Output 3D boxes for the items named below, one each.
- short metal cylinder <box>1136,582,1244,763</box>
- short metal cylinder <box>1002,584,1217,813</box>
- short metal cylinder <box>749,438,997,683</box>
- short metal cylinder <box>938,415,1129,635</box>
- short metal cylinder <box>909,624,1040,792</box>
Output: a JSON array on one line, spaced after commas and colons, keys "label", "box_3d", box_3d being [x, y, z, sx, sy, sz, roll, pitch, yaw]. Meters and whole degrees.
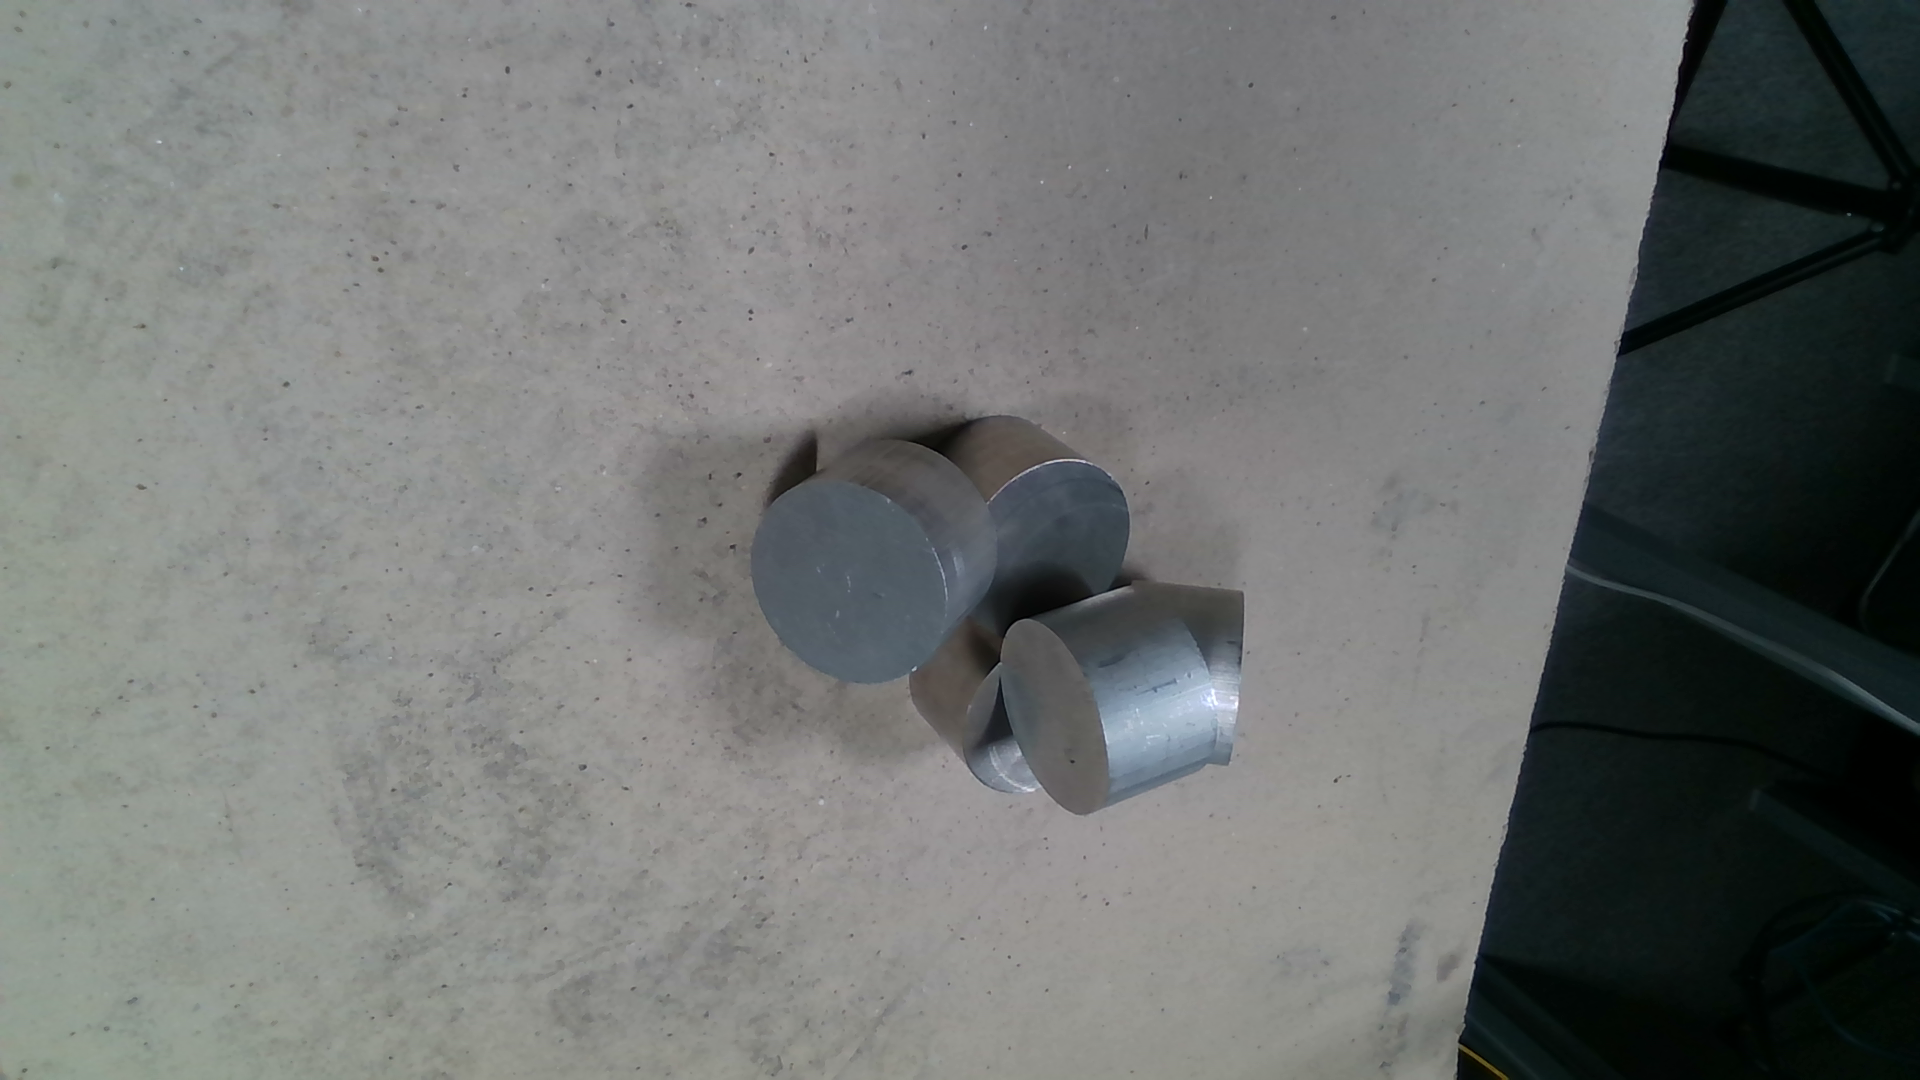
[{"label": "short metal cylinder", "box_3d": [0.100, 0.060, 0.630, 0.050, 0.080, 0.080, 5, 118, 8]}, {"label": "short metal cylinder", "box_3d": [0.058, 0.063, 0.550, 0.050, 0.080, 0.080, -16, 122, -24]}, {"label": "short metal cylinder", "box_3d": [-0.032, 0.007, 0.521, 0.050, 0.080, 0.080, -43, 144, -59]}, {"label": "short metal cylinder", "box_3d": [0.023, -0.006, 0.575, 0.080, 0.050, 0.080, -14, 122, -25]}, {"label": "short metal cylinder", "box_3d": [0.024, 0.065, 0.614, 0.080, 0.050, 0.080, -14, 122, -25]}]
